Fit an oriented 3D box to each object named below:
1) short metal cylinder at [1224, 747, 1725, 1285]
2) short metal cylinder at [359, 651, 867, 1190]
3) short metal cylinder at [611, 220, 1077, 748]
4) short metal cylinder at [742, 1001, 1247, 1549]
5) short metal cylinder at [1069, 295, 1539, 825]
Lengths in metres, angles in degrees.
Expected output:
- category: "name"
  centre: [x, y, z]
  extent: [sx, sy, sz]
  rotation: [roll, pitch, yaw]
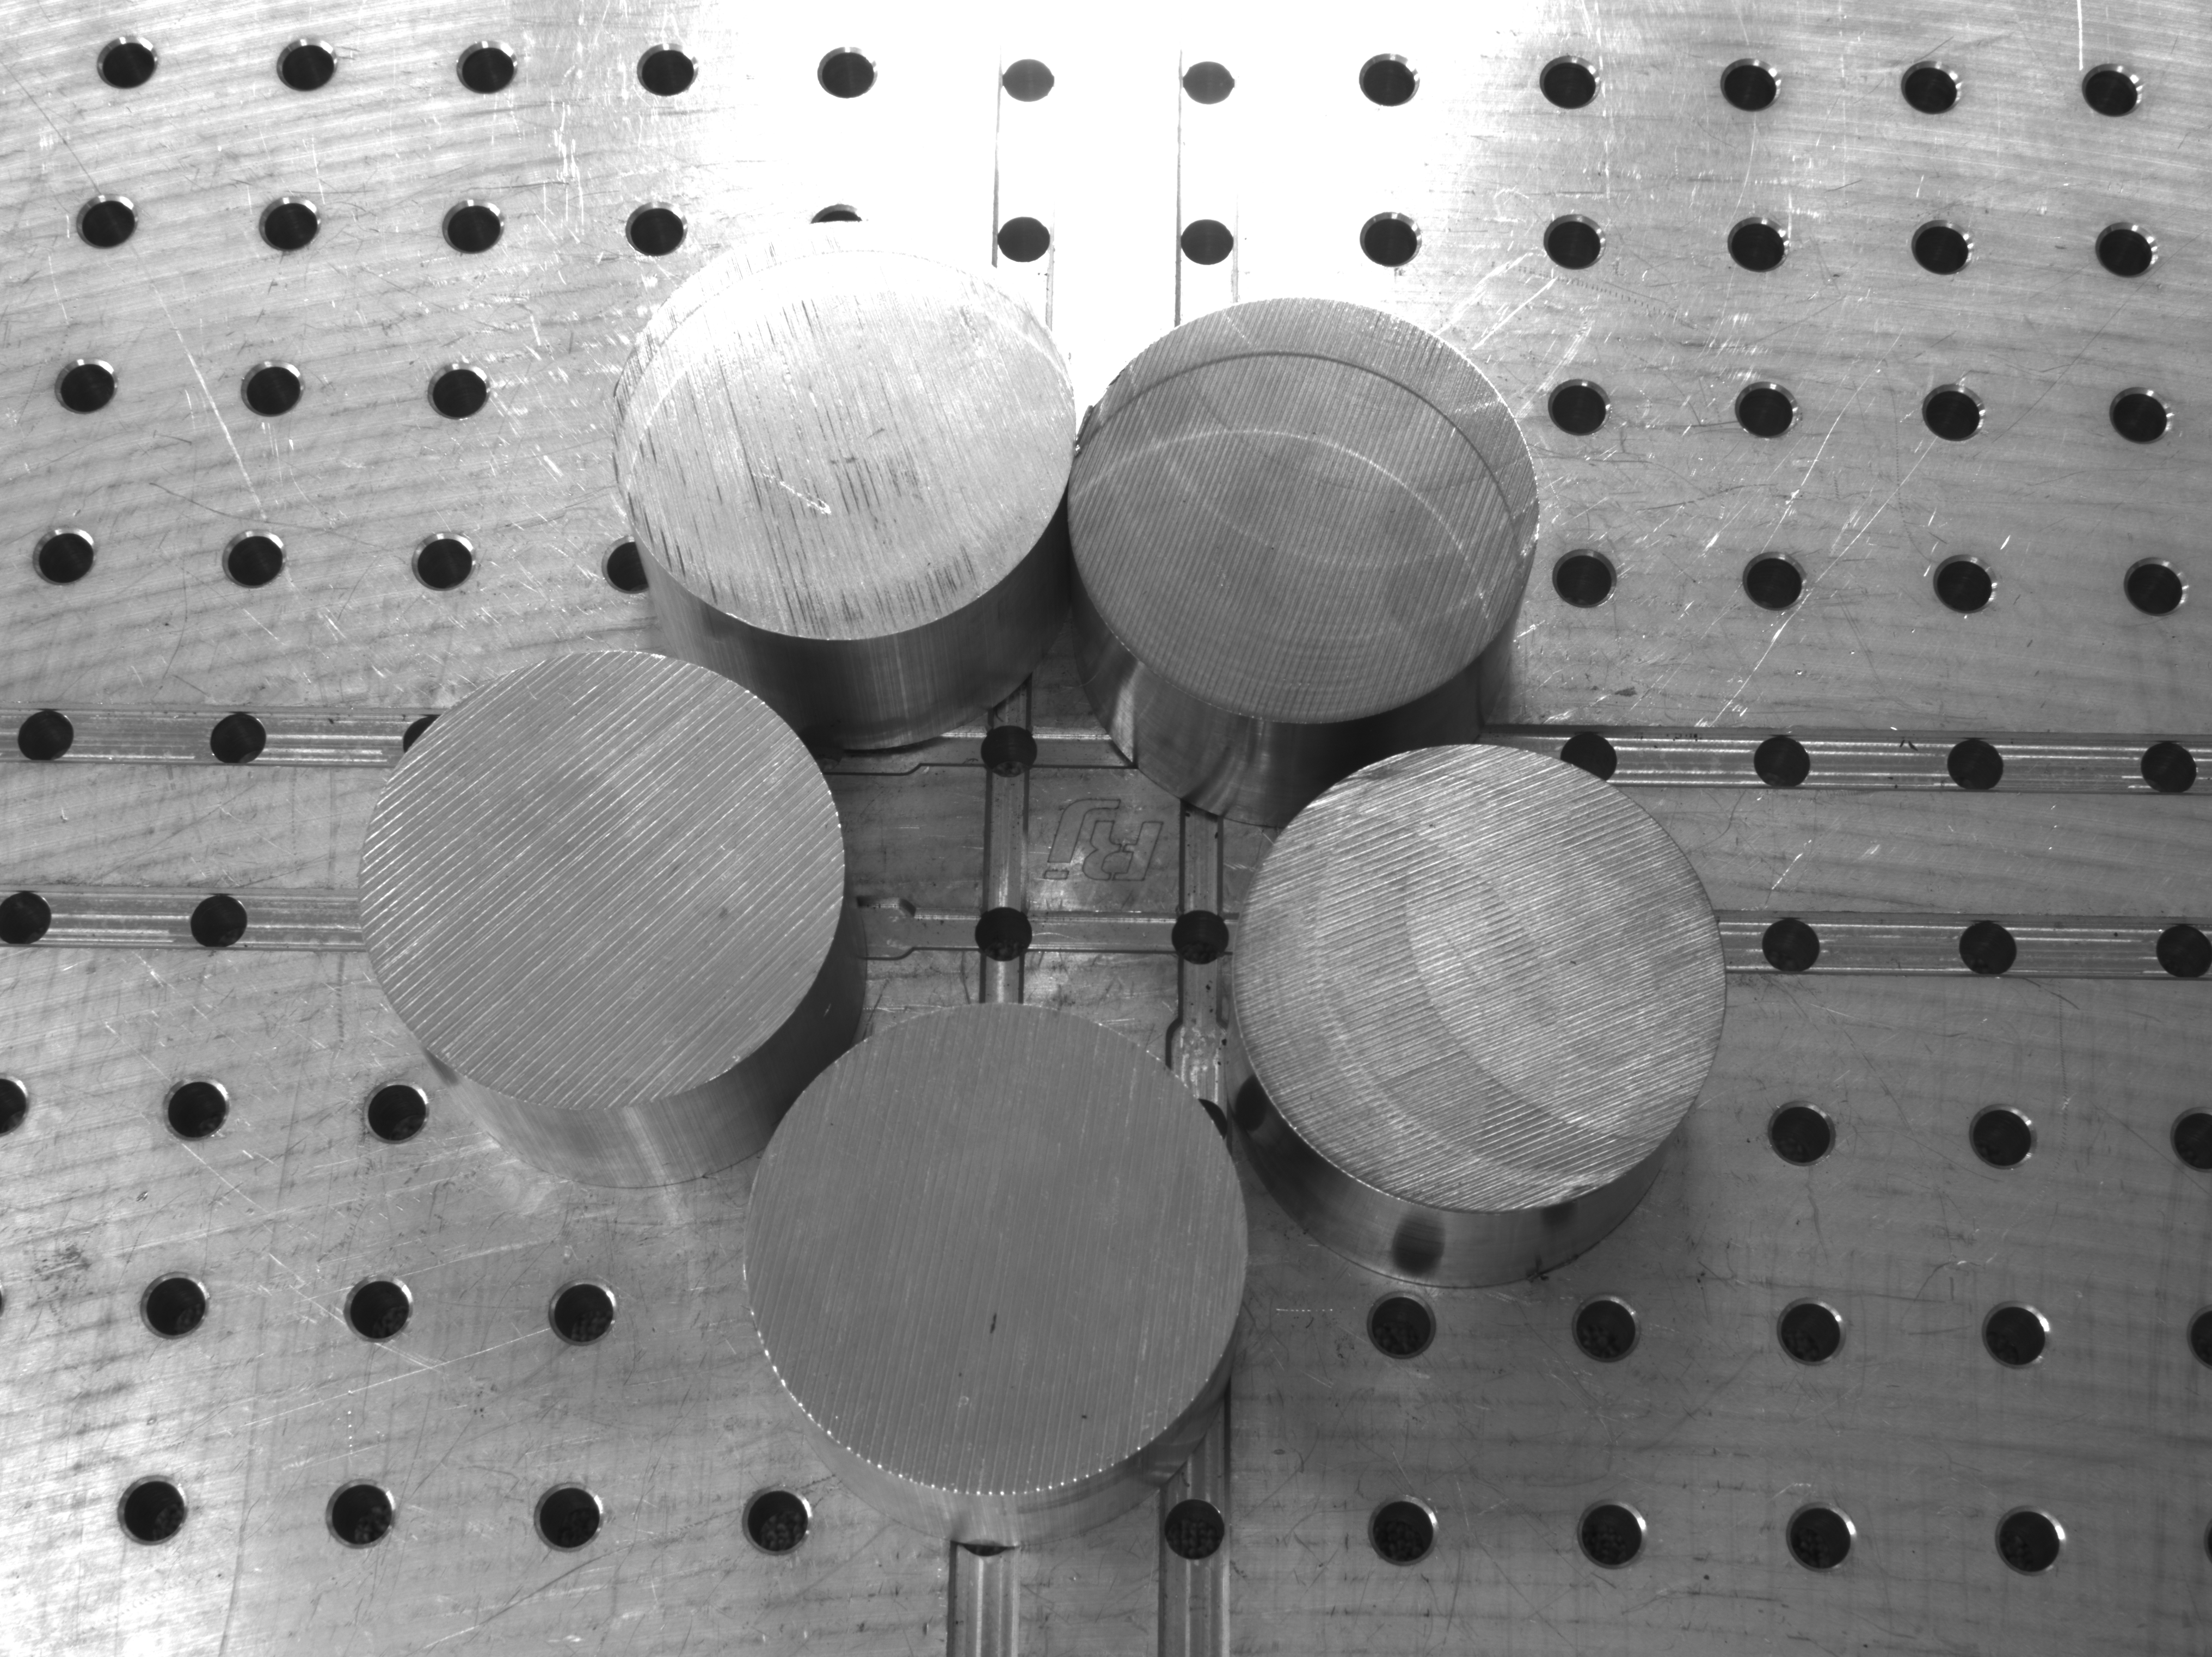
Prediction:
- category: "short metal cylinder"
  centre: [0.061, 0.032, 0.622]
  extent: [0.080, 0.050, 0.080]
  rotation: [0, 71, 0]
- category: "short metal cylinder"
  centre: [-0.082, 0.016, 0.628]
  extent: [0.080, 0.050, 0.080]
  rotation: [0, 70, 0]
- category: "short metal cylinder"
  centre: [-0.045, -0.061, 0.657]
  extent: [0.080, 0.050, 0.080]
  rotation: [0, 70, 0]
- category: "short metal cylinder"
  centre: [-0.017, 0.074, 0.606]
  extent: [0.080, 0.050, 0.080]
  rotation: [0, 69, 1]
- category: "short metal cylinder"
  centre: [0.034, -0.047, 0.651]
  extent: [0.080, 0.050, 0.080]
  rotation: [0, 70, 0]
